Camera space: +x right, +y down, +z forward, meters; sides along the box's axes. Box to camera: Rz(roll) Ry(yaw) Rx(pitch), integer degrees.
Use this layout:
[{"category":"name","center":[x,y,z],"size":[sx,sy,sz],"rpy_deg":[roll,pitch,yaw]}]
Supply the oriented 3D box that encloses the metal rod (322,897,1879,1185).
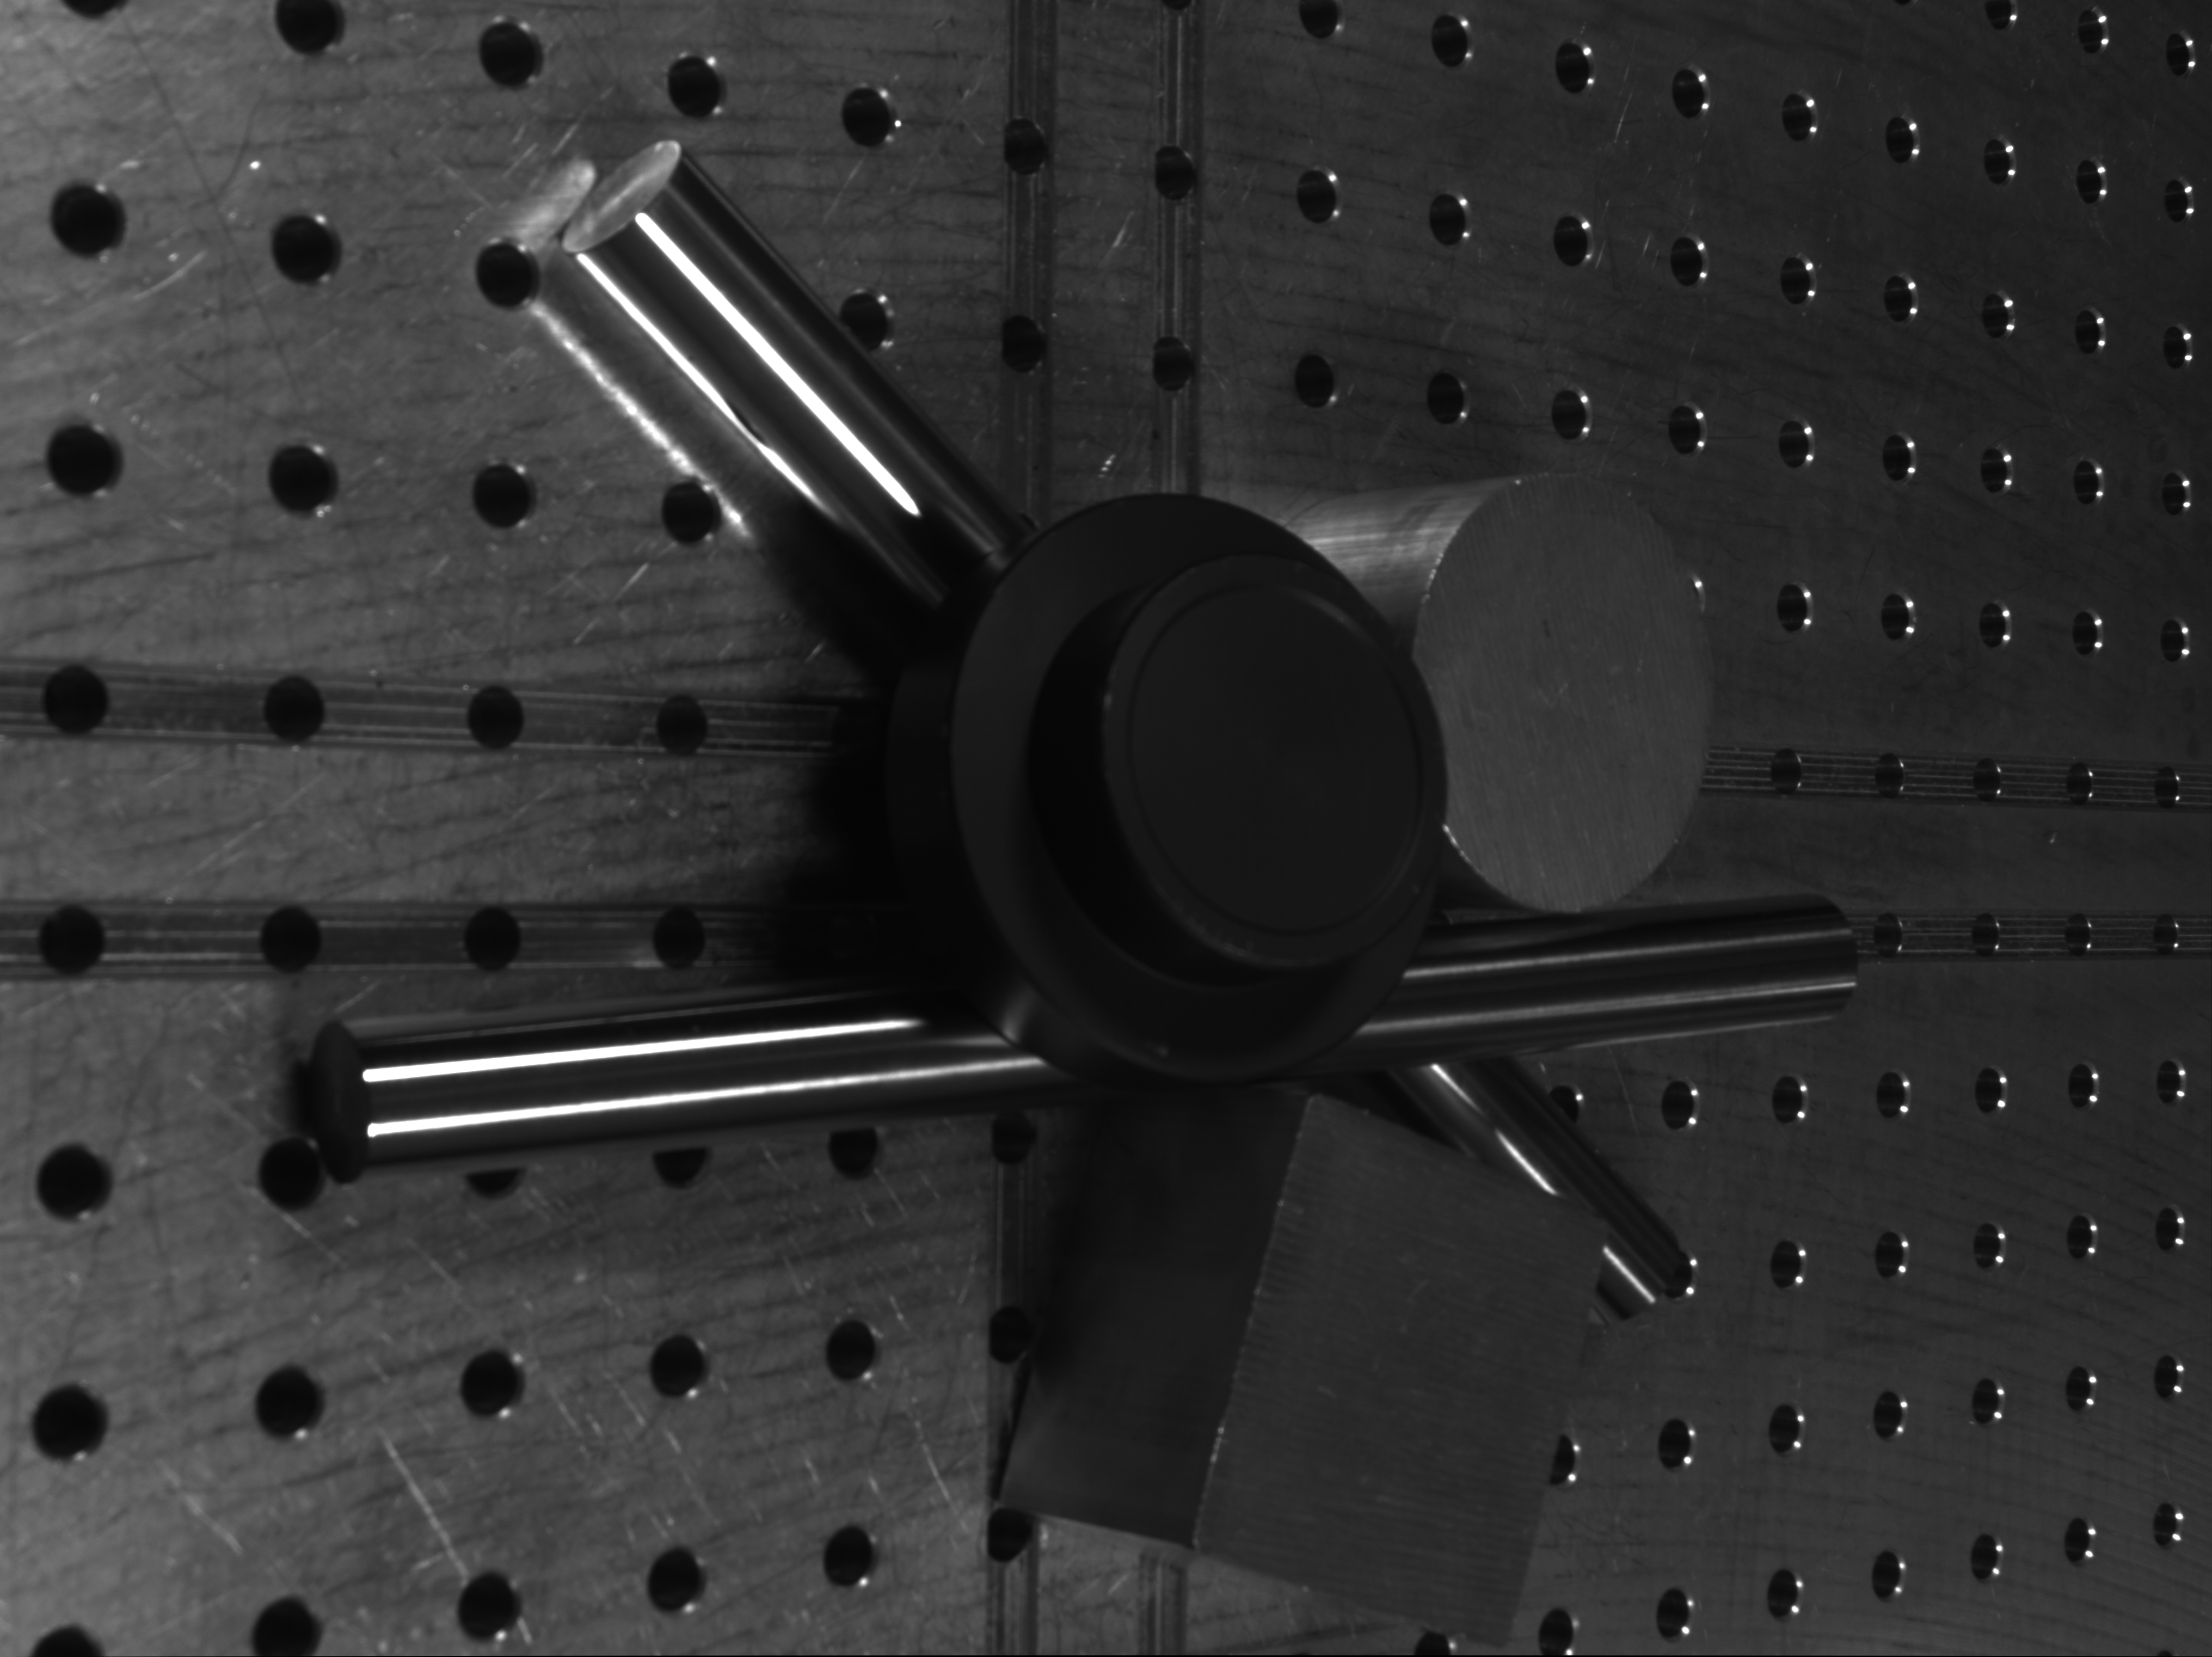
[{"category":"metal rod","center":[0.014,0.033,0.628],"size":[0.301,0.025,0.025],"rpy_deg":[-4,92,-32]}]

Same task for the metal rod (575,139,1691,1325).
[{"category":"metal rod","center":[0.016,-0.006,0.654],"size":[0.301,0.025,0.025],"rpy_deg":[46,62,-30]}]

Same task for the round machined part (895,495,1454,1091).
[{"category":"round machined part","center":[0.018,-0.007,0.601],"size":[0.098,0.042,0.098],"rpy_deg":[7,77,-33]}]

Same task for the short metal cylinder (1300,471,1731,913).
[{"category":"short metal cylinder","center":[0.071,-0.025,0.682],"size":[0.080,0.050,0.080],"rpy_deg":[0,90,-40]}]

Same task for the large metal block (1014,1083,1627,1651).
[{"category":"large metal block","center":[0.039,0.095,0.654],"size":[0.080,0.050,0.080],"rpy_deg":[26,74,-37]}]
